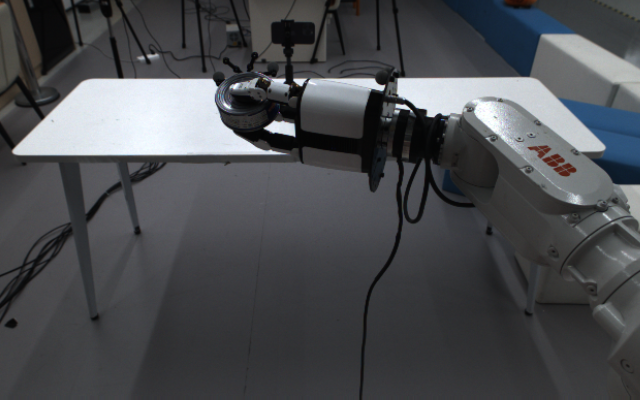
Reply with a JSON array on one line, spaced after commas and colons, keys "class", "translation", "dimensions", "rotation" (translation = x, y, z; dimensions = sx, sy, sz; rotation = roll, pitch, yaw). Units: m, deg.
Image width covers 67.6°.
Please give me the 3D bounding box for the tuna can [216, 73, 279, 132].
[{"class": "tuna can", "translation": [-0.096, -0.131, 0.665], "dimensions": [0.085, 0.034, 0.085], "rotation": [-3, 59, 5]}]
